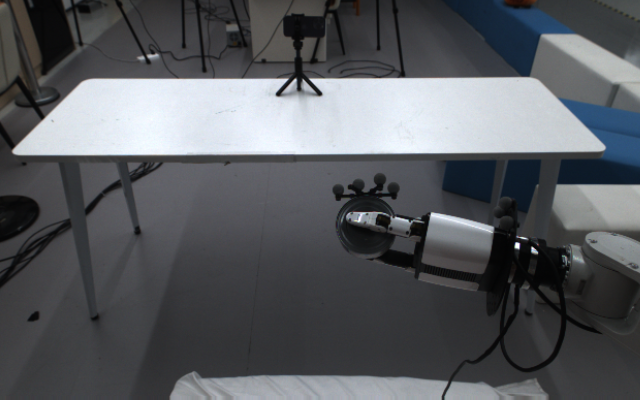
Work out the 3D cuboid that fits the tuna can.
[{"bbox_3d":[0.067,0.038,0.682,0.085,0.034,0.085,-2,69,6],"label":"tuna can"}]
